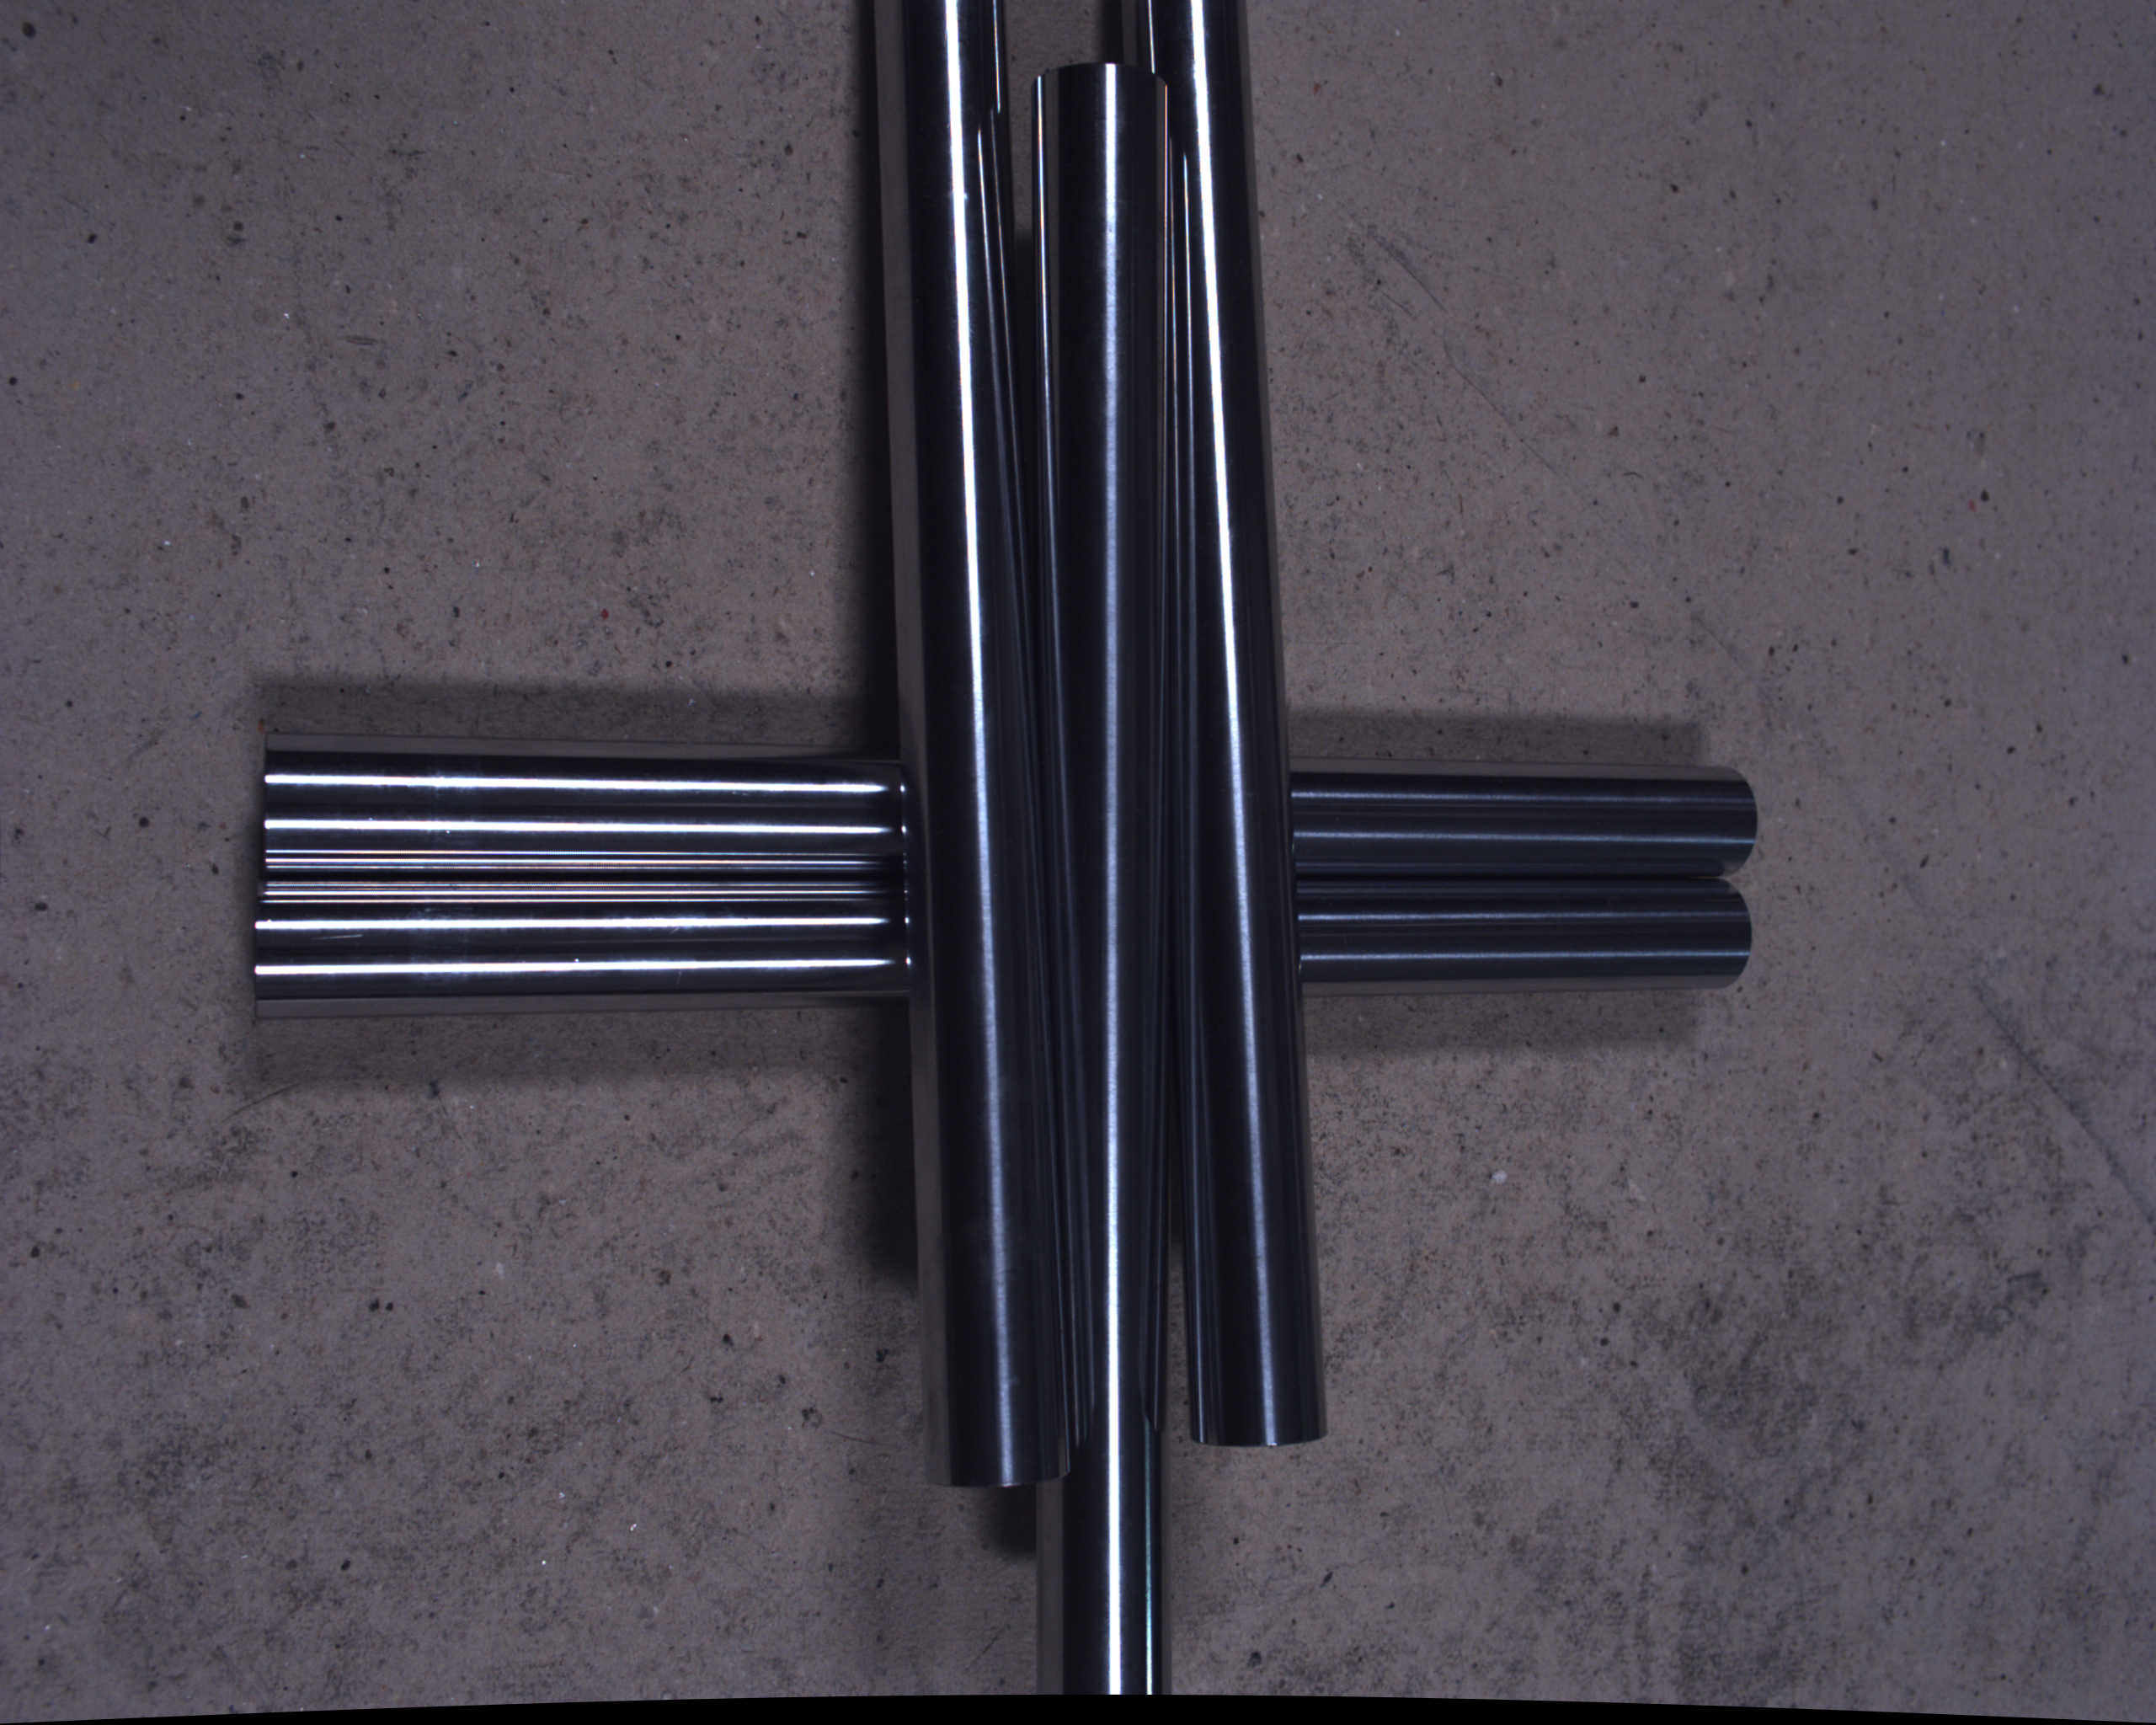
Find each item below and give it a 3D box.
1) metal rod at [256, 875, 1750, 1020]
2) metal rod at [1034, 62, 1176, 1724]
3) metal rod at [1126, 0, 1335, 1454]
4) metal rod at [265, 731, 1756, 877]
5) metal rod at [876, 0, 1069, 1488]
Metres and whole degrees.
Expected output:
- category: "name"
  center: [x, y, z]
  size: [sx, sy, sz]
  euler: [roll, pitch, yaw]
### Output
- category: "metal rod"
  center: [0.000, 0.015, 0.412]
  size: [0.303, 0.025, 0.025]
  euler: [0, 90, -21]
- category: "metal rod"
  center: [0.005, 0.006, 0.386]
  size: [0.025, 0.025, 0.298]
  euler: [0, 90, -20]
- category: "metal rod"
  center: [0.028, -0.042, 0.399]
  size: [0.025, 0.025, 0.298]
  euler: [0, 82, -20]
- category: "metal rod"
  center: [0.002, -0.010, 0.413]
  size: [0.303, 0.025, 0.025]
  euler: [0, 90, -21]
- category: "metal rod"
  center: [-0.021, -0.042, 0.381]
  size: [0.025, 0.025, 0.298]
  euler: [0, 82, -20]
